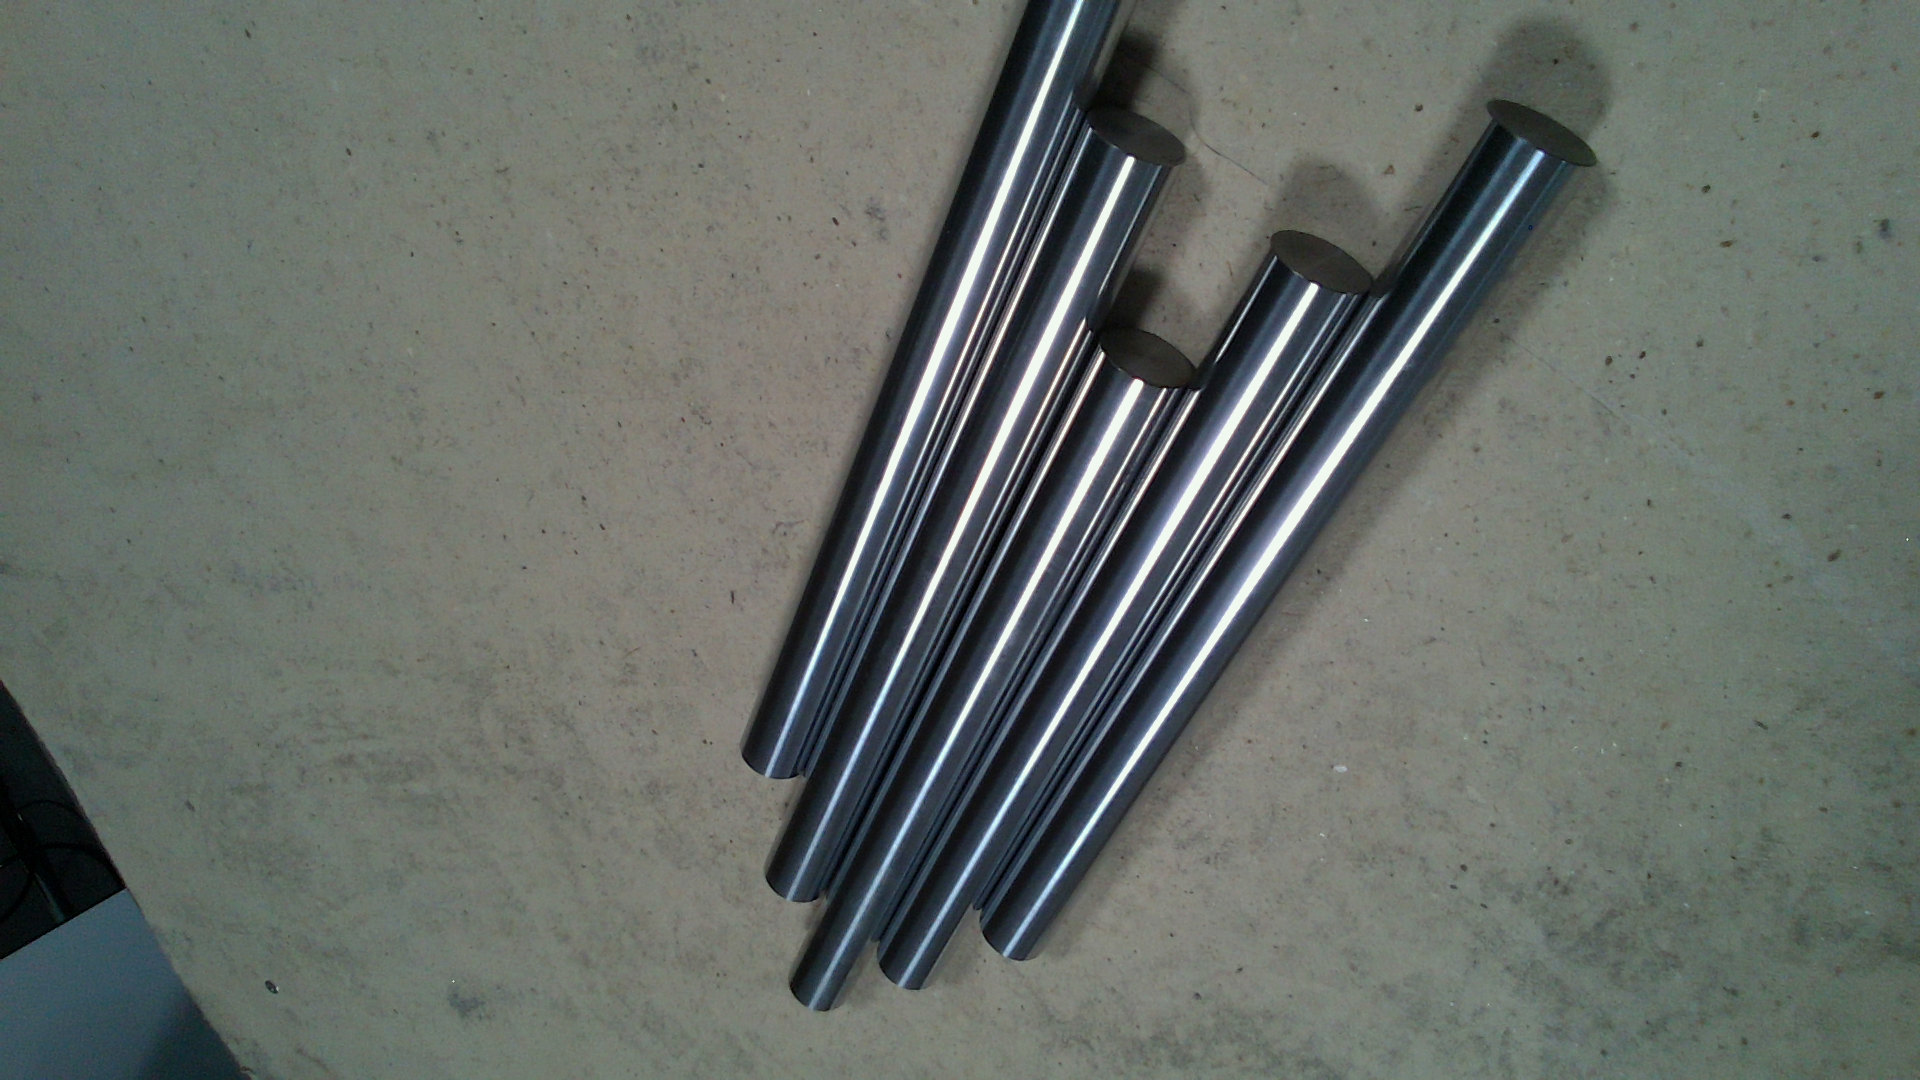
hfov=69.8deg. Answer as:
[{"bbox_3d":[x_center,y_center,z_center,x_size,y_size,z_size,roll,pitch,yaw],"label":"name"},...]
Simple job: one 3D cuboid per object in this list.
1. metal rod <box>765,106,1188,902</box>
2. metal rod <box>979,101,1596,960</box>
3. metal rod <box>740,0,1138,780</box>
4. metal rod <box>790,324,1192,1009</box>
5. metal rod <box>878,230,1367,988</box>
[{"bbox_3d":[-0.009,0.014,0.407,0.025,0.025,0.299,31,129,8],"label":"metal rod"},{"bbox_3d":[0.068,0.024,0.371,0.025,0.025,0.299,31,129,8],"label":"metal rod"},{"bbox_3d":[-0.014,-0.034,0.379,0.025,0.025,0.299,31,129,8],"label":"metal rod"},{"bbox_3d":[-0.003,0.061,0.433,0.025,0.025,0.299,31,129,8],"label":"metal rod"},{"bbox_3d":[0.032,0.044,0.403,0.025,0.025,0.299,31,129,8],"label":"metal rod"}]
